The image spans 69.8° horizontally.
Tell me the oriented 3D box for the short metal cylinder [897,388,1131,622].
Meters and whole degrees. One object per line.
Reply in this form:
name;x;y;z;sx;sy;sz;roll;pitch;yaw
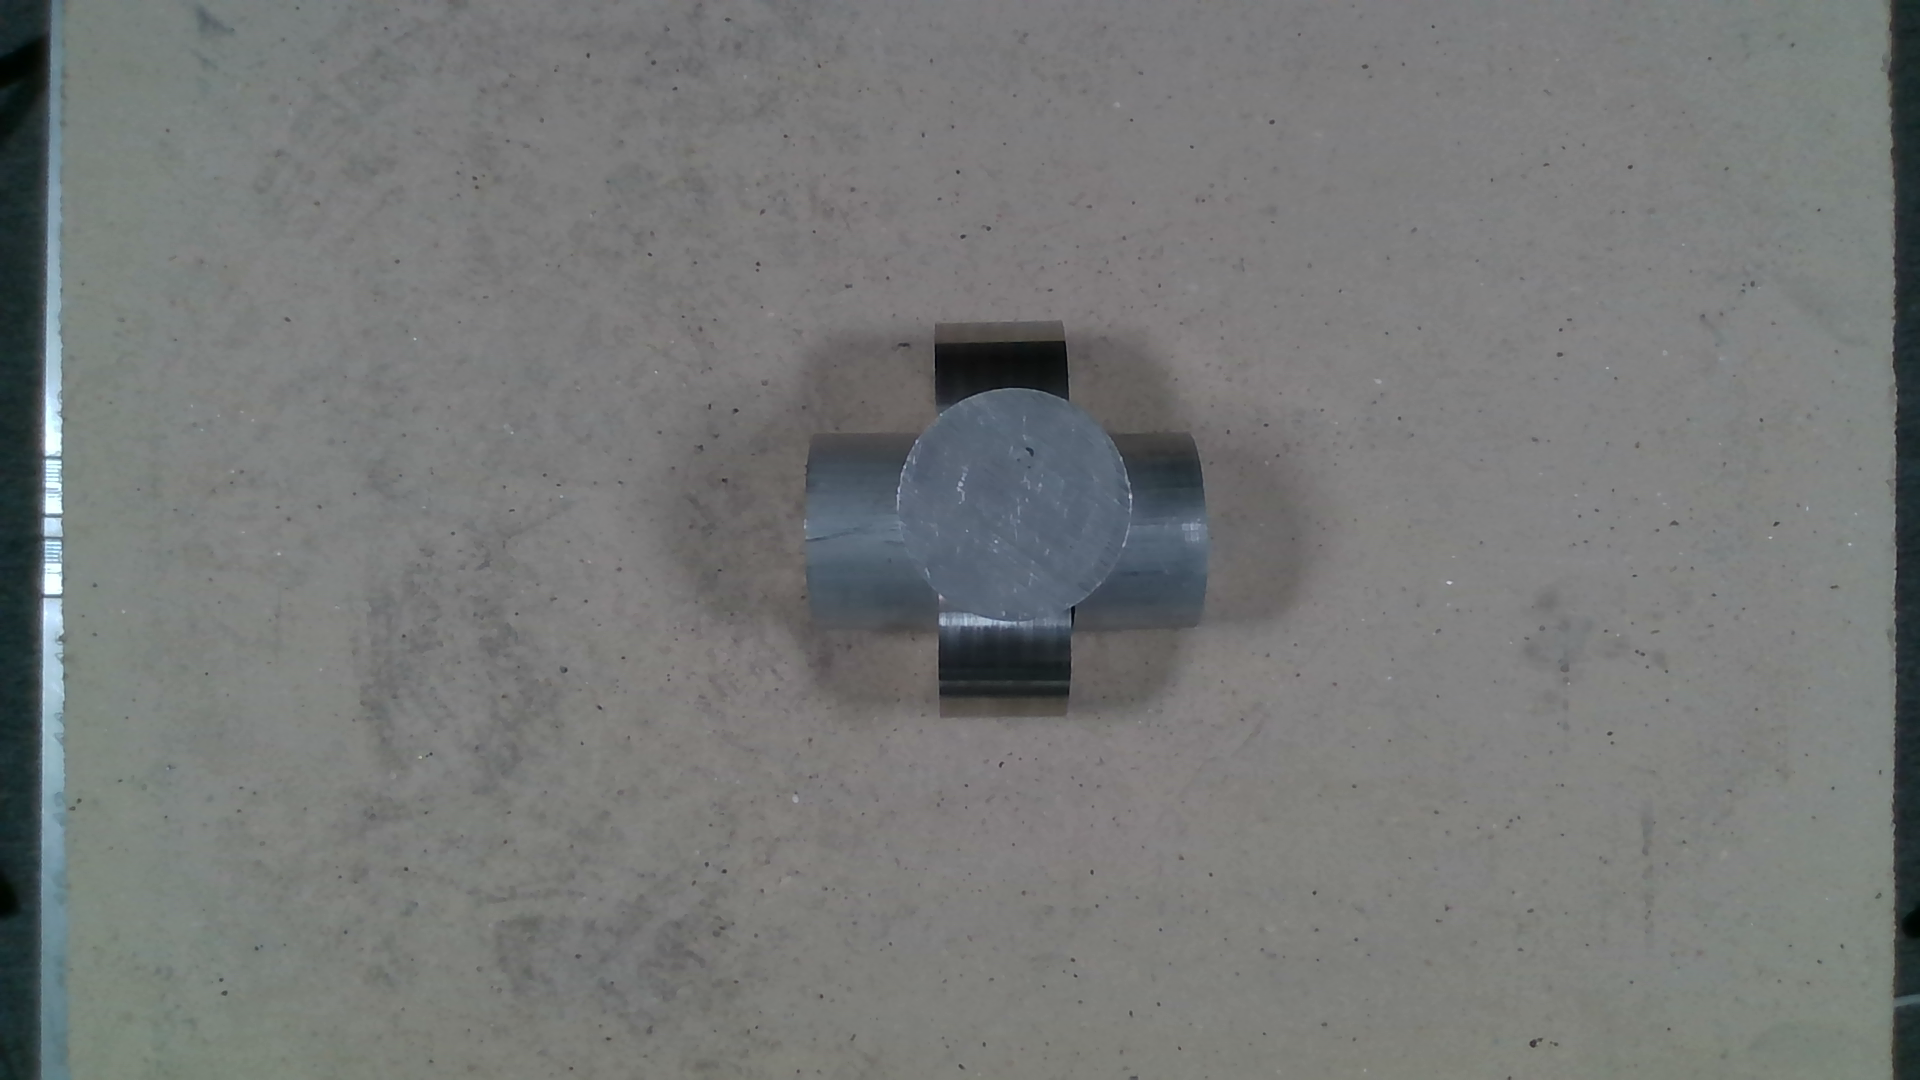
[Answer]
short metal cylinder;0.018;-0.012;0.494;0.080;0.050;0.080;0;90;0

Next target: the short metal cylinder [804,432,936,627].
short metal cylinder;-0.034;-0.004;0.559;0.050;0.080;0.080;0;90;0

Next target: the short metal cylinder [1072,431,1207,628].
short metal cylinder;0.068;-0.004;0.560;0.050;0.080;0.080;-2;90;0

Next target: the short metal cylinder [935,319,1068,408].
short metal cylinder;0.016;-0.049;0.559;0.050;0.080;0.080;-1;90;0

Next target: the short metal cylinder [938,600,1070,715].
short metal cylinder;0.017;0.032;0.560;0.050;0.080;0.080;-1;90;0
